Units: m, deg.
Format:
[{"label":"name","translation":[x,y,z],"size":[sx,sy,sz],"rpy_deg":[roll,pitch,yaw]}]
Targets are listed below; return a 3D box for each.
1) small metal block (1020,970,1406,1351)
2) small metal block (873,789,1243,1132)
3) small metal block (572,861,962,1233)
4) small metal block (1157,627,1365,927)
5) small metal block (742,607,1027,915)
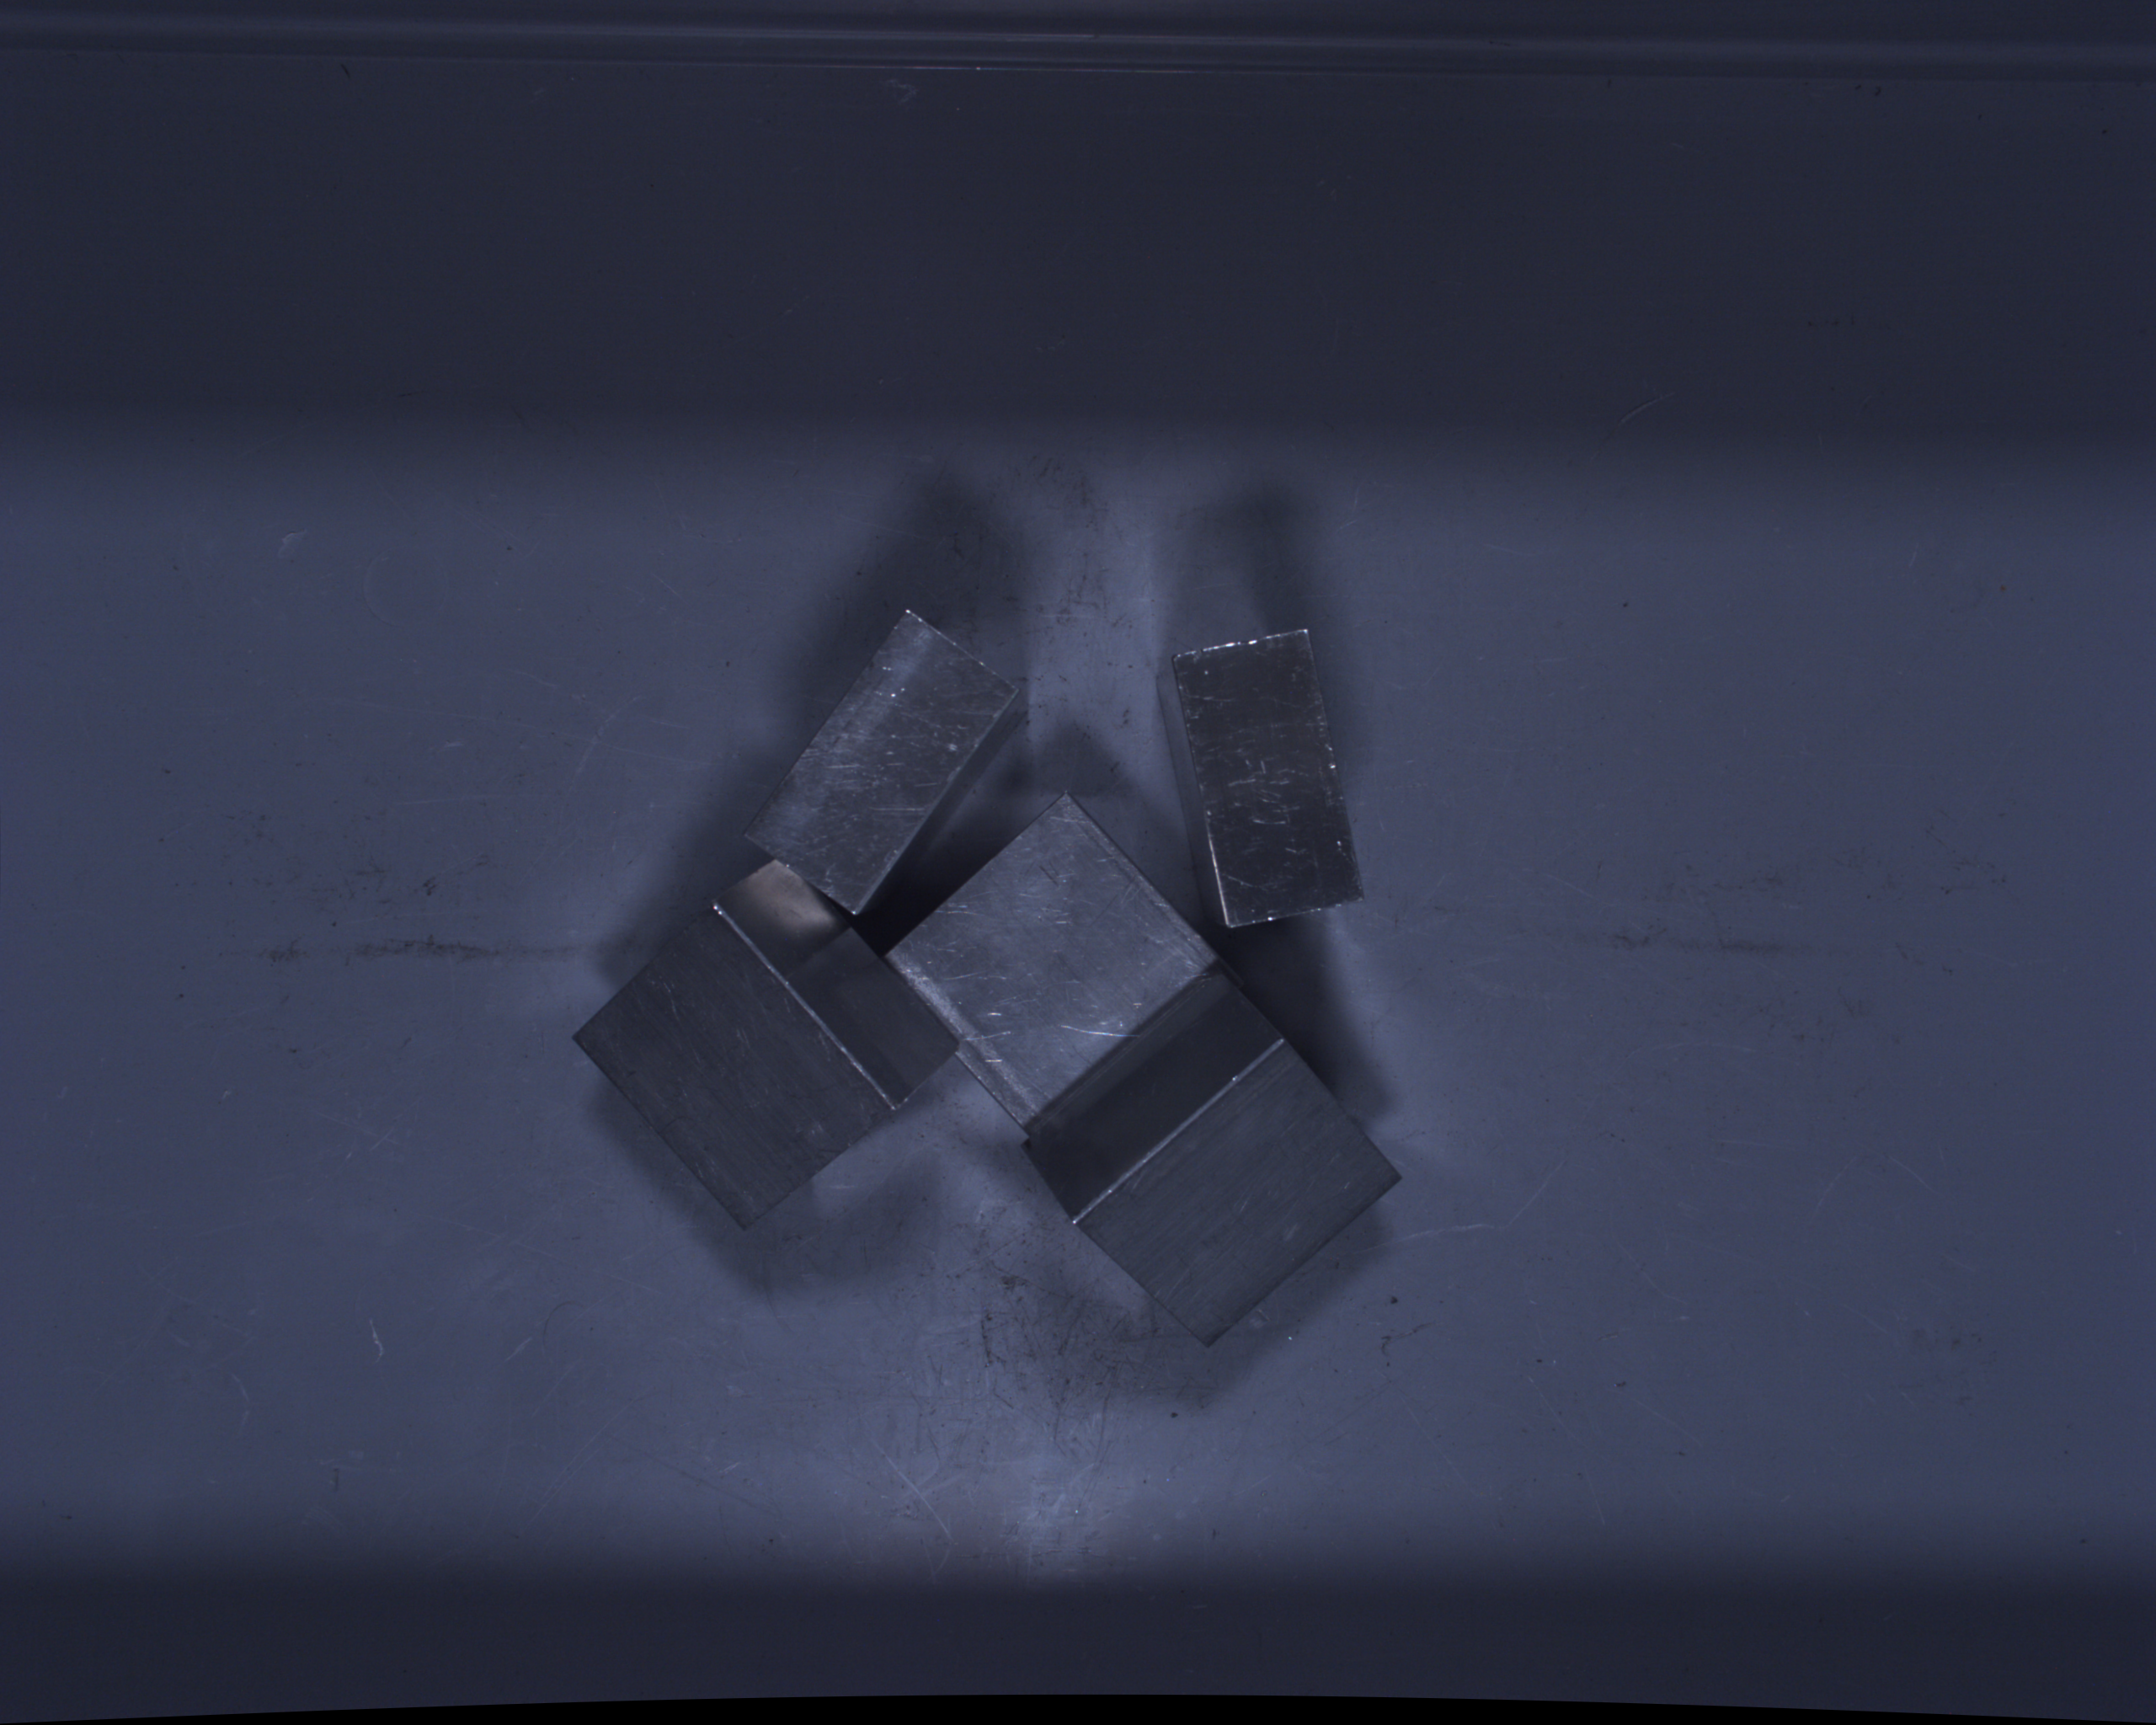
[{"label":"small metal block","translation":[0.026,0.057,0.397],"size":[0.050,0.025,0.050],"rpy_deg":[-41,127,-1]},{"label":"small metal block","translation":[-0.004,0.021,0.409],"size":[0.050,0.025,0.050],"rpy_deg":[-42,91,0]},{"label":"small metal block","translation":[-0.060,0.034,0.398],"size":[0.050,0.025,0.050],"rpy_deg":[49,123,-1]},{"label":"small metal block","translation":[0.033,-0.015,0.397],"size":[0.025,0.050,0.050],"rpy_deg":[-11,90,-1]},{"label":"small metal block","translation":[-0.035,-0.018,0.396],"size":[0.025,0.050,0.050],"rpy_deg":[37,90,0]}]
